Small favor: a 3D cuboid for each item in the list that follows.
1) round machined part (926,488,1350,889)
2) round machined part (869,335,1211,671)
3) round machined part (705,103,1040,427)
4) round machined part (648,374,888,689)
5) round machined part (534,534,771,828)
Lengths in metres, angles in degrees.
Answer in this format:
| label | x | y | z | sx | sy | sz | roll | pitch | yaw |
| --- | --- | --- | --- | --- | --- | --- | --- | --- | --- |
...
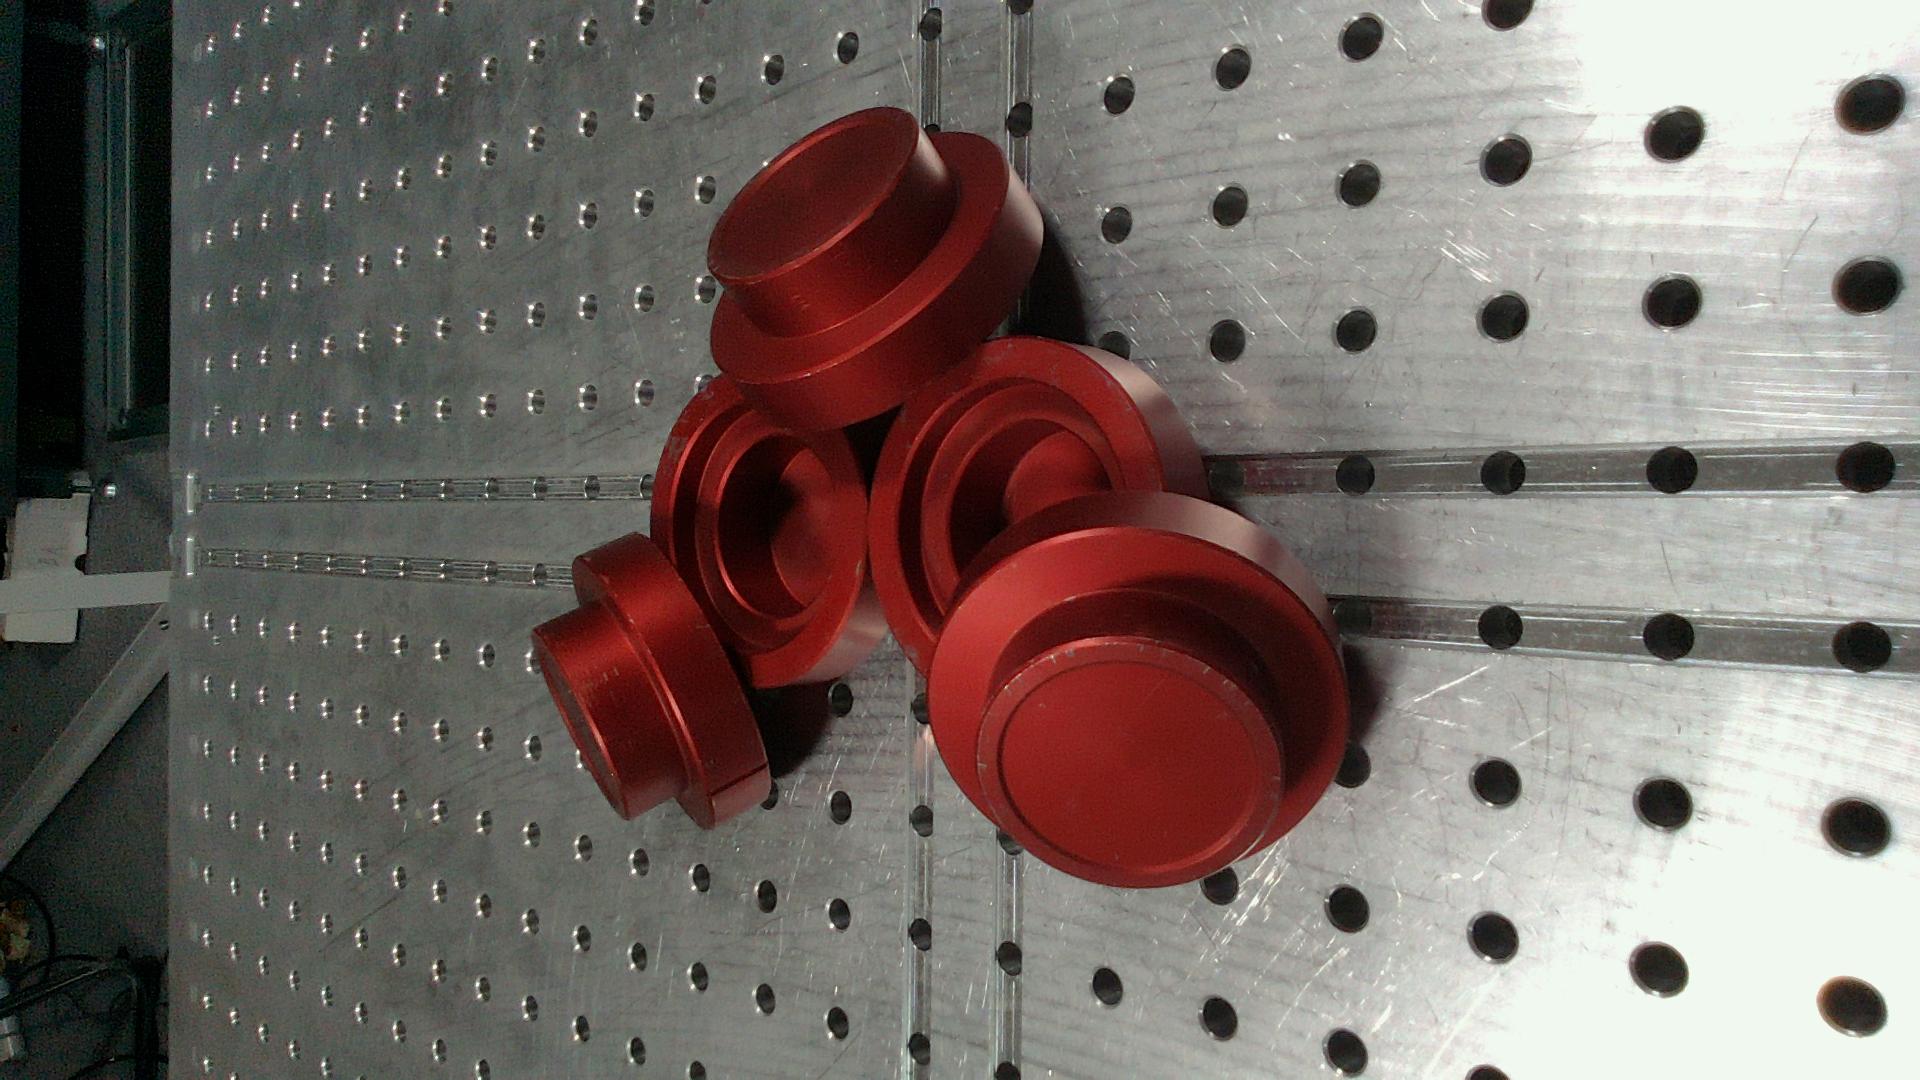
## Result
| label | x | y | z | sx | sy | sz | roll | pitch | yaw |
| --- | --- | --- | --- | --- | --- | --- | --- | --- | --- |
| round machined part | 0.040 | 0.041 | 0.318 | 0.098 | 0.042 | 0.098 | 5 | 118 | 9 |
| round machined part | 0.025 | -0.003 | 0.366 | 0.098 | 0.042 | 0.098 | 0 | 90 | 40 |
| round machined part | -0.031 | -0.081 | 0.379 | 0.098 | 0.042 | 0.098 | -23 | 40 | 21 |
| round machined part | -0.050 | -0.004 | 0.428 | 0.098 | 0.042 | 0.098 | 0 | 90 | 40 |
| round machined part | -0.103 | 0.051 | 0.443 | 0.098 | 0.042 | 0.098 | 47 | 152 | 34 |
